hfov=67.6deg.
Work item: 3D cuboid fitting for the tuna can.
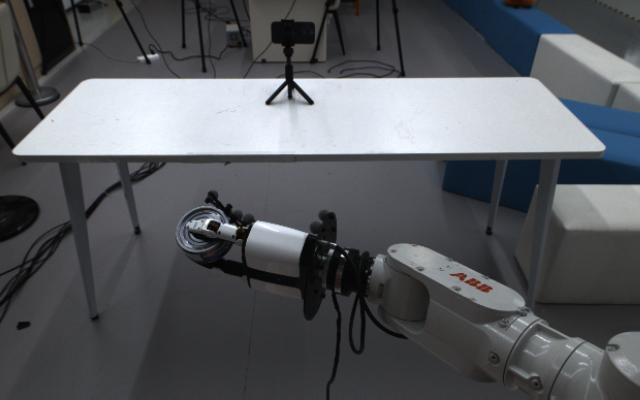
[{"bbox_3d":[-0.177,0.053,0.747,0.085,0.034,0.085,-3,58,5],"label":"tuna can"}]
